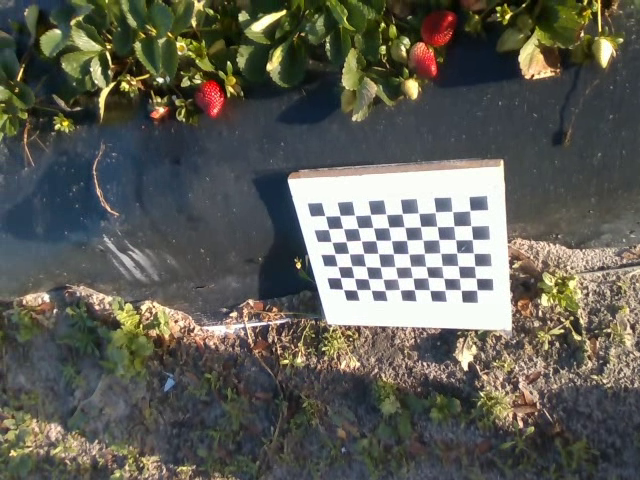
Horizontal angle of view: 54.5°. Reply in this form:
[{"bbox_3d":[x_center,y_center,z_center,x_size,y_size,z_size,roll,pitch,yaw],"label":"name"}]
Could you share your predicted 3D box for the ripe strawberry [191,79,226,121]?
[{"bbox_3d":[-0.160,-0.195,0.883,0.052,0.052,0.041,-32,-38,33],"label":"ripe strawberry"}]
